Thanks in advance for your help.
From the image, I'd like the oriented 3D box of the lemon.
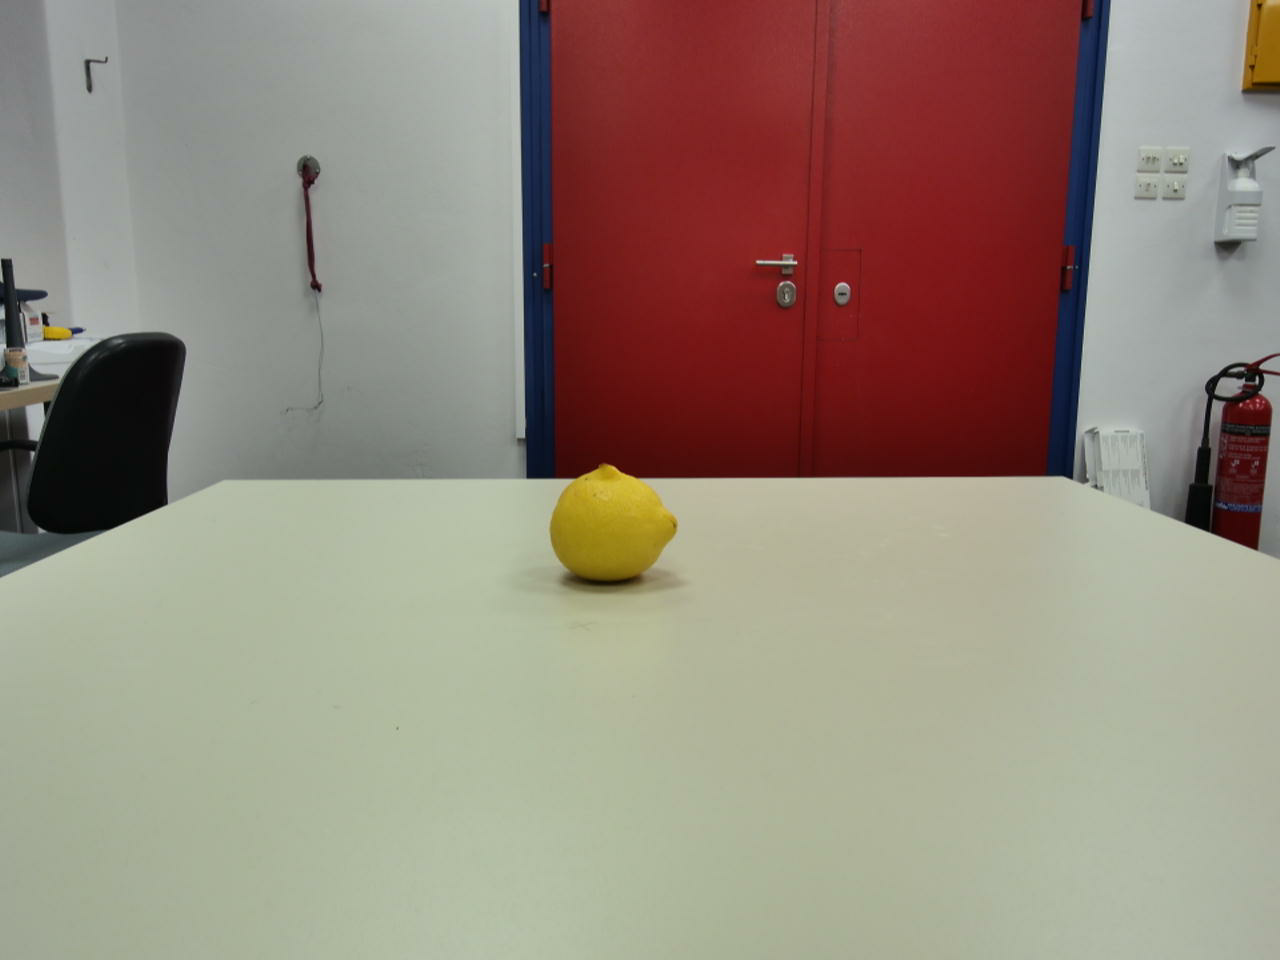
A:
[{"bbox_3d":[-0.019,0.025,0.609,0.070,0.071,0.071,-6,9,-34],"label":"lemon"}]
